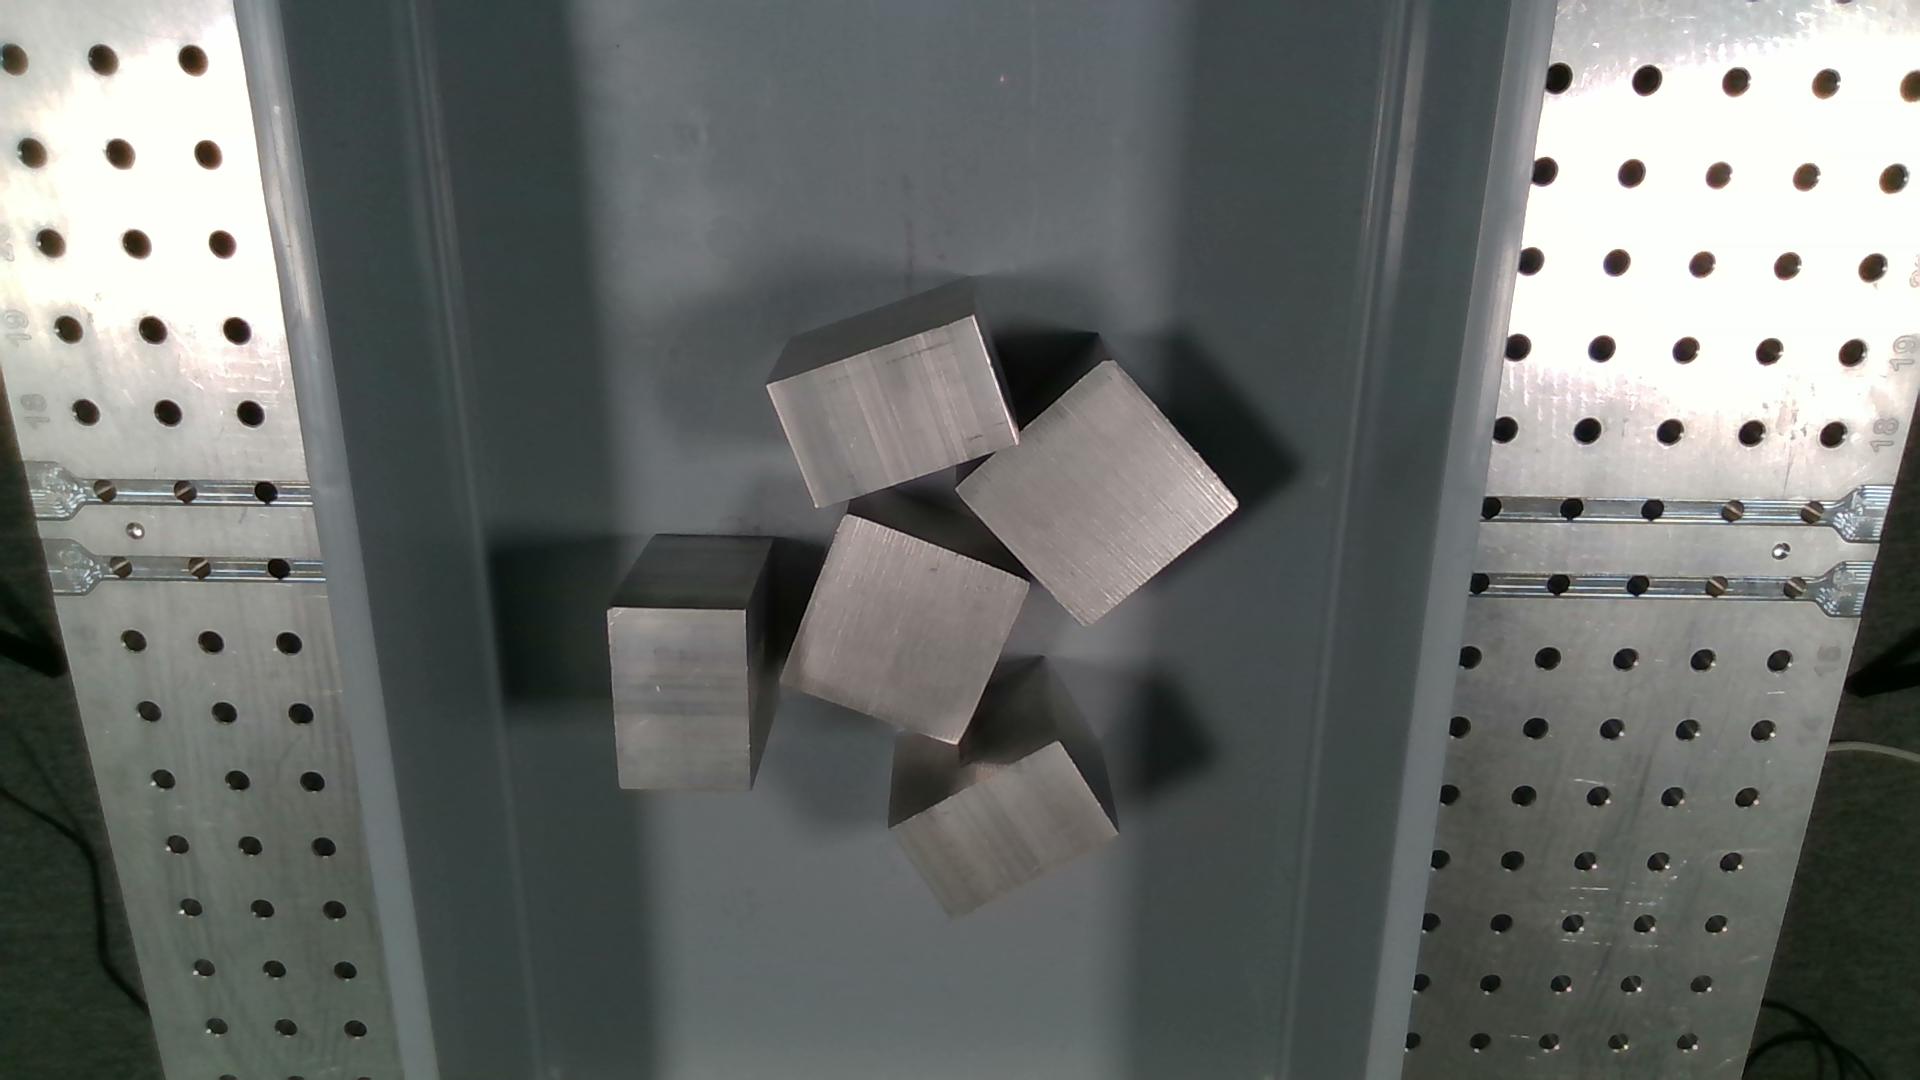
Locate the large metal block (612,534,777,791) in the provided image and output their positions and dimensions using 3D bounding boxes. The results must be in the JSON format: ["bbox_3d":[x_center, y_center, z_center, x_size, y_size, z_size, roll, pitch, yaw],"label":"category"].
[{"bbox_3d":[-0.107,0.049,0.573,0.050,0.080,0.080,1,110,0],"label":"large metal block"}]

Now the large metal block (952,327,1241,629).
[{"bbox_3d":[0.053,-0.026,0.560,0.080,0.050,0.080,-40,105,13],"label":"large metal block"}]

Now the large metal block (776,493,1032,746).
[{"bbox_3d":[-0.023,0.028,0.581,0.080,0.050,0.080,21,109,-8],"label":"large metal block"}]

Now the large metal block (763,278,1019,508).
[{"bbox_3d":[-0.024,-0.060,0.532,0.080,0.080,0.050,-18,109,6],"label":"large metal block"}]

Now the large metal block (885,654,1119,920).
[{"bbox_3d":[0.017,0.104,0.592,0.080,0.080,0.050,-29,107,10],"label":"large metal block"}]
